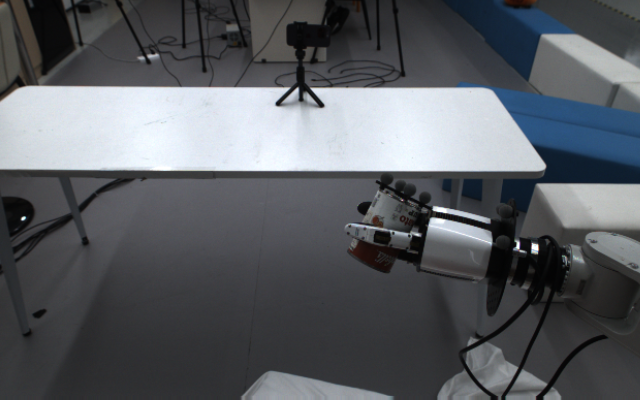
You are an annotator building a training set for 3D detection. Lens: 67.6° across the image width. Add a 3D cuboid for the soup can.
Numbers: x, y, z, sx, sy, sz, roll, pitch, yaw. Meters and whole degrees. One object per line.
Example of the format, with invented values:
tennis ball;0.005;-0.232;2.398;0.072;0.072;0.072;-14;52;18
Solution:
soup can;0.091;0.042;0.675;0.067;0.101;0.067;26;5;-3
